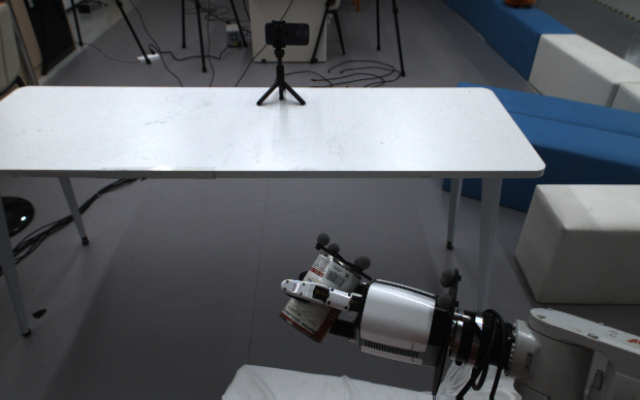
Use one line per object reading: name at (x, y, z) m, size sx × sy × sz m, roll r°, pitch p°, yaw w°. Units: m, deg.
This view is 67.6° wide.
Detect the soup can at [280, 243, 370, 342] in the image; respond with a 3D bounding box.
soup can at (0.003, 0.129, 0.643) m, size 0.067 × 0.067 × 0.101 m, roll 27°, pitch 78°, yaw 31°
